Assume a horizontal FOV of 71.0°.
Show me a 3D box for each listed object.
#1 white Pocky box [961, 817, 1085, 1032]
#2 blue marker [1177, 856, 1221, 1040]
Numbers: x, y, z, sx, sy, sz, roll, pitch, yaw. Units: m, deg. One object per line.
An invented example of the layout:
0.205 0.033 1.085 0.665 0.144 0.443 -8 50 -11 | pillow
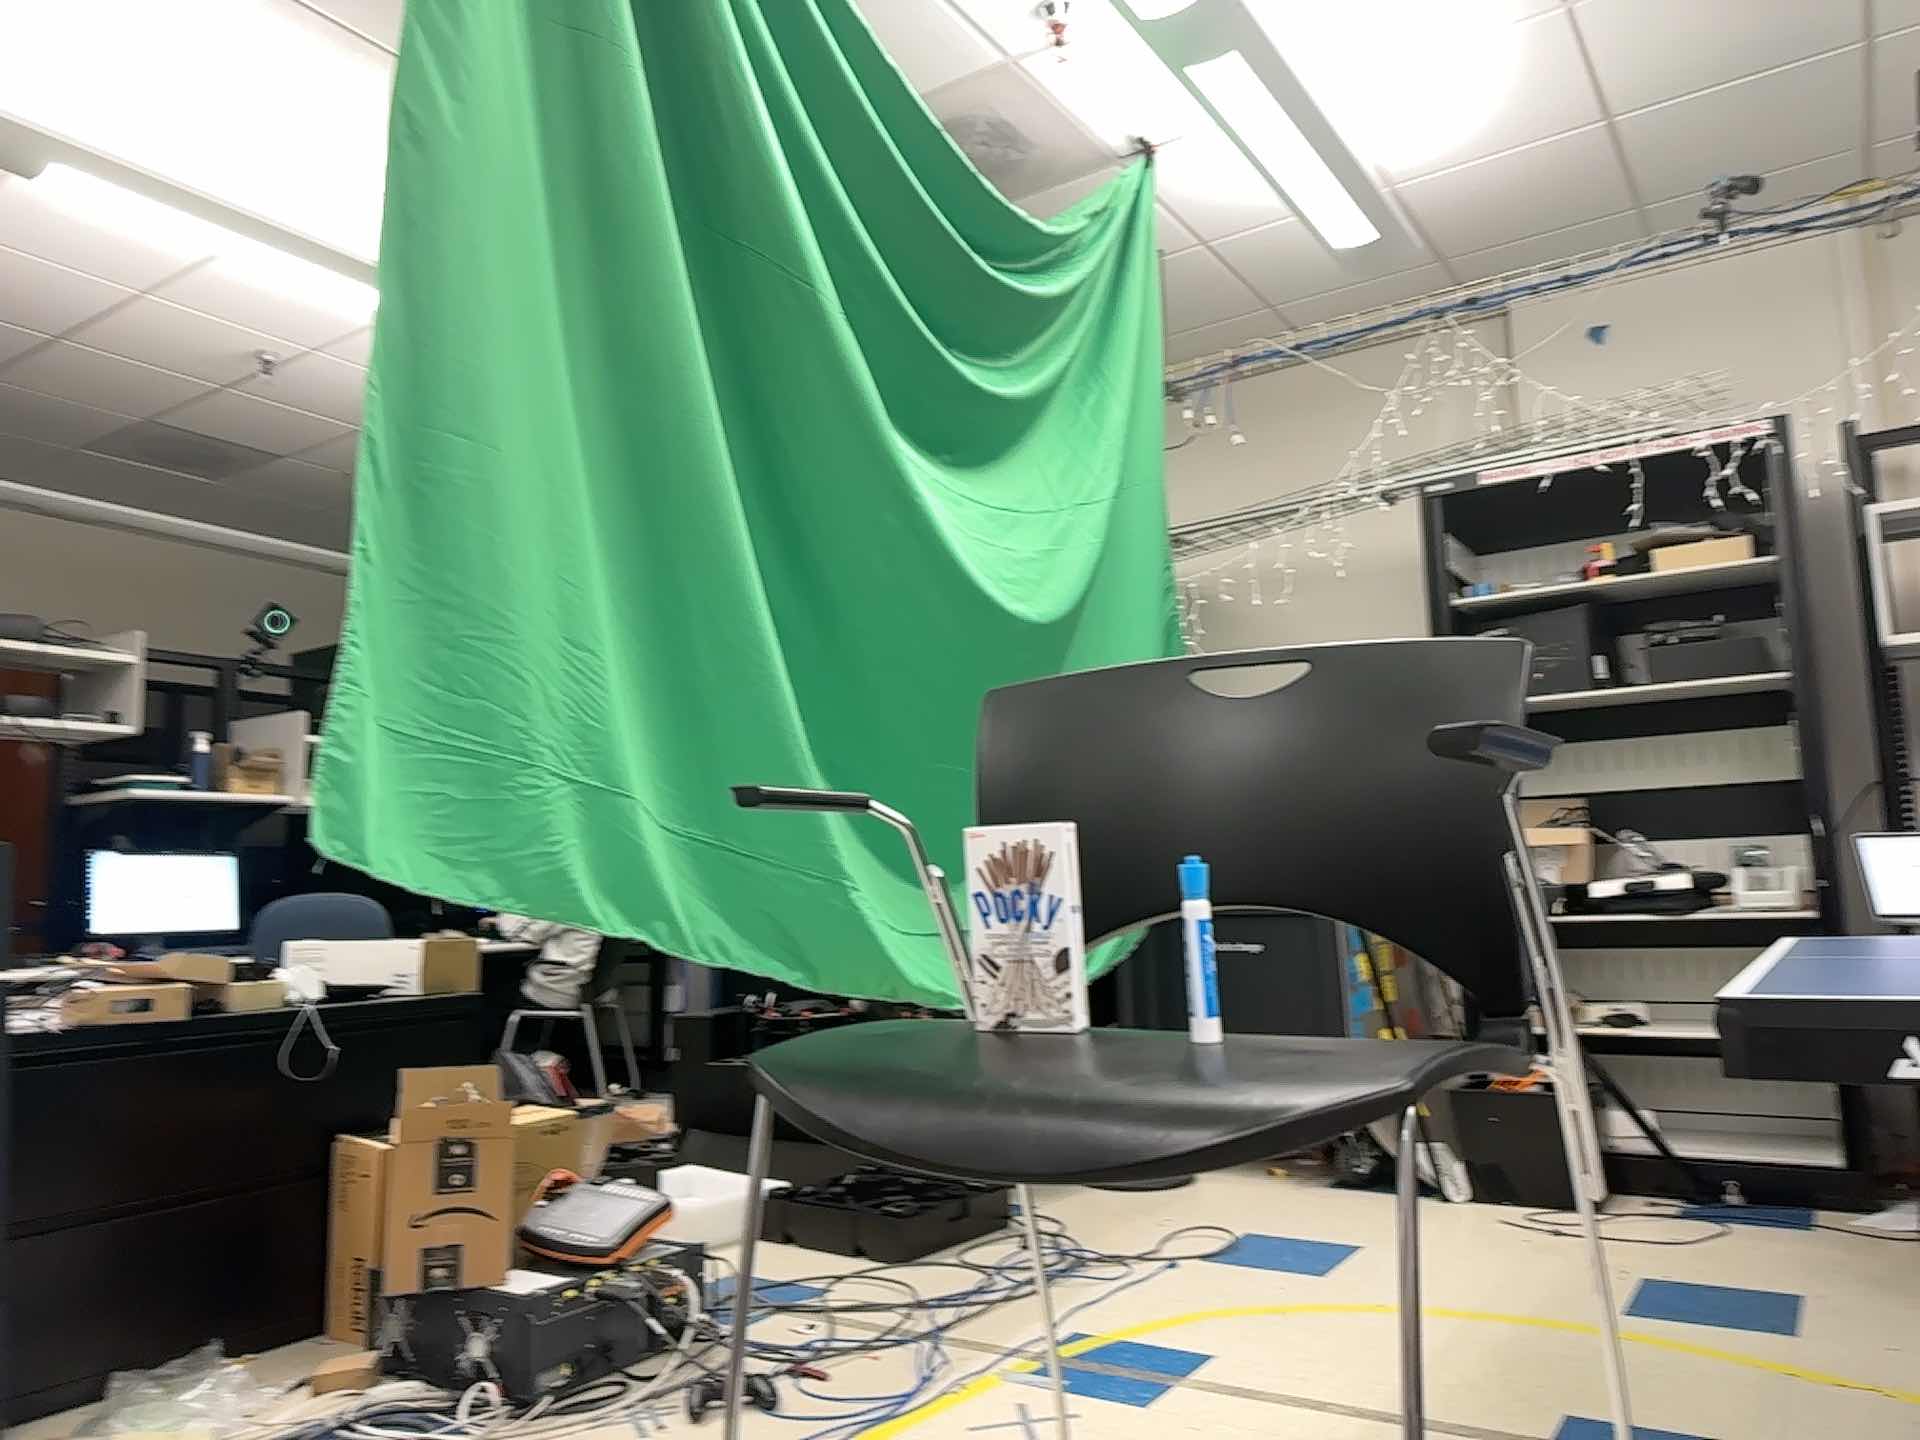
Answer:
0.046 0.150 0.994 0.084 0.154 0.028 -5 -4 28 | white Pocky box
0.160 0.152 0.903 0.020 0.121 0.020 -4 -4 0 | blue marker
